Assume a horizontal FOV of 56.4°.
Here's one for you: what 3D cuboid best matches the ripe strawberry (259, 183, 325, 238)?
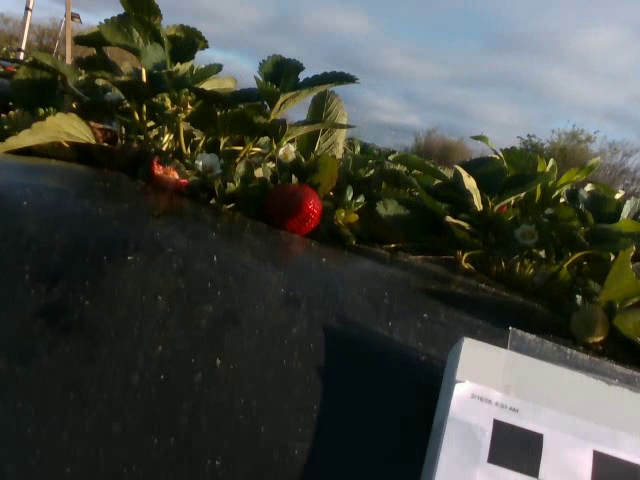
[{"bbox_3d":[-0.016,-0.025,0.387,0.052,0.041,0.051,-5,-8,-16],"label":"ripe strawberry"}]
